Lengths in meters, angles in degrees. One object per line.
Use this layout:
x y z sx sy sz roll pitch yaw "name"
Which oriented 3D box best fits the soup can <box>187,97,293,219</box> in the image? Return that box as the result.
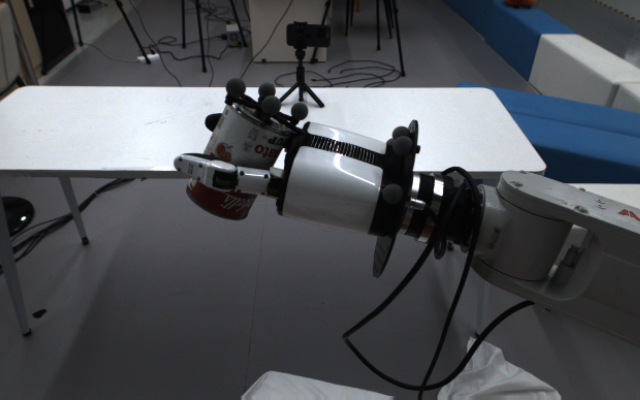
-0.078 -0.039 0.475 0.067 0.101 0.067 27 18 -9 "soup can"
